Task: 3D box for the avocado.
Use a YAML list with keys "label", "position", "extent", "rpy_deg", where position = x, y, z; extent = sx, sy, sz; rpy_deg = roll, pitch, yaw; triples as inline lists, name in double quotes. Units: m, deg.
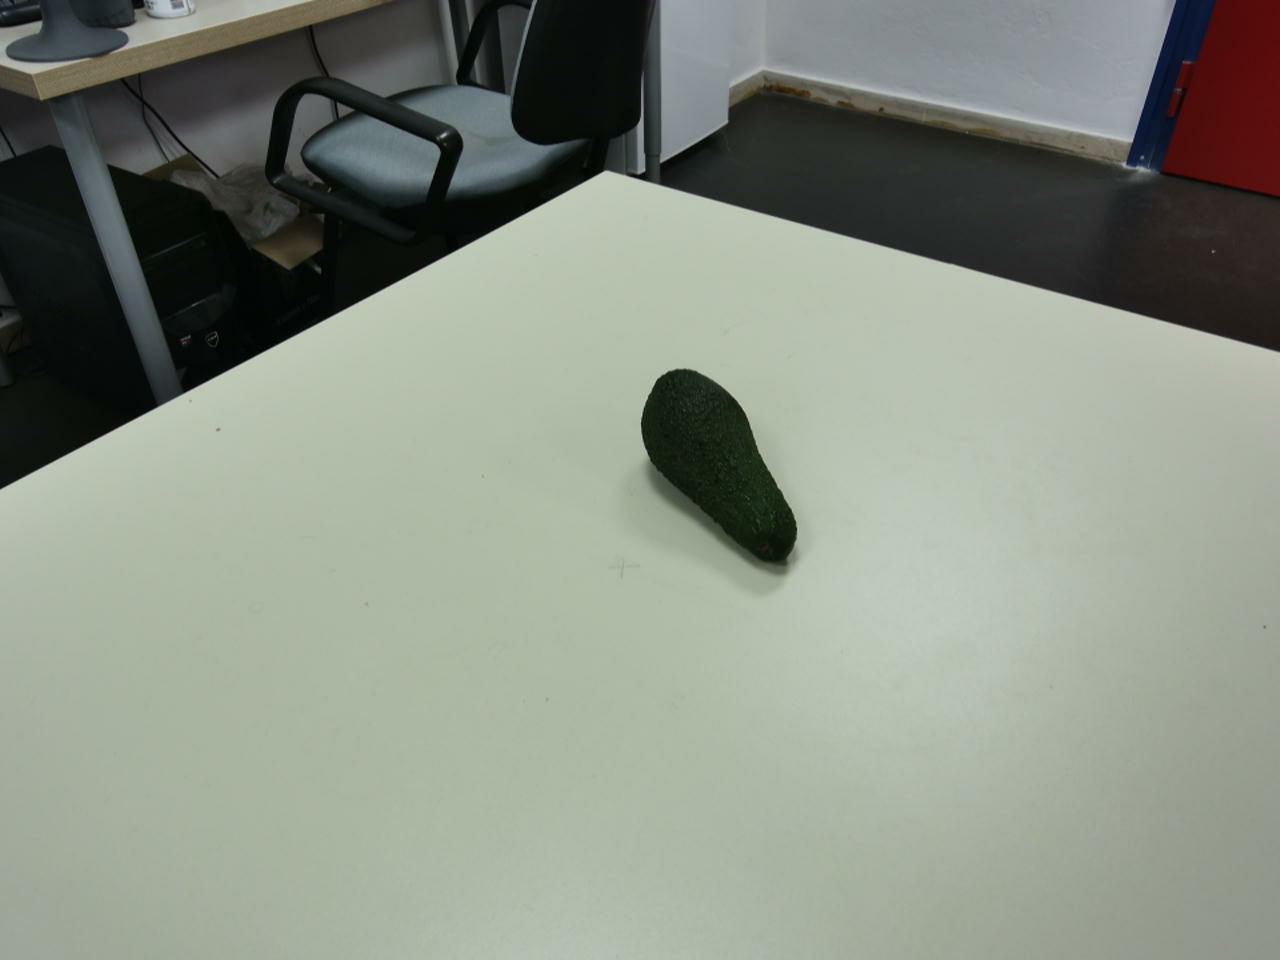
- label: "avocado"
  position: [0.051, -0.016, 0.585]
  extent: [0.063, 0.067, 0.141]
  rpy_deg: [-25, 44, -29]
